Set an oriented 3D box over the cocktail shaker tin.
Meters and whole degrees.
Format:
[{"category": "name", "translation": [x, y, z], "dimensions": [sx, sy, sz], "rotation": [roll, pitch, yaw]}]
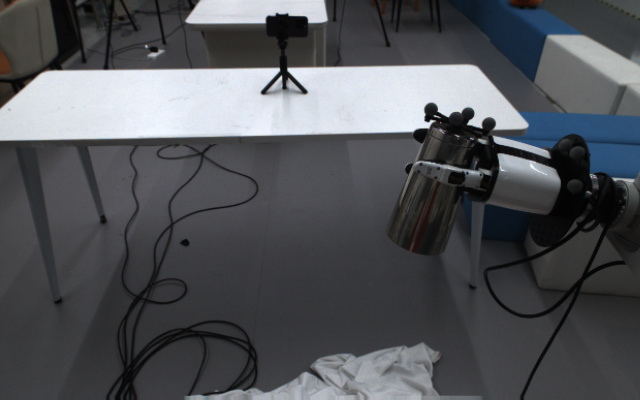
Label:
[{"category": "cocktail shaker tin", "translation": [0.164, -0.022, 0.683], "dimensions": [0.093, 0.170, 0.093], "rotation": [12, 25, -6]}]
